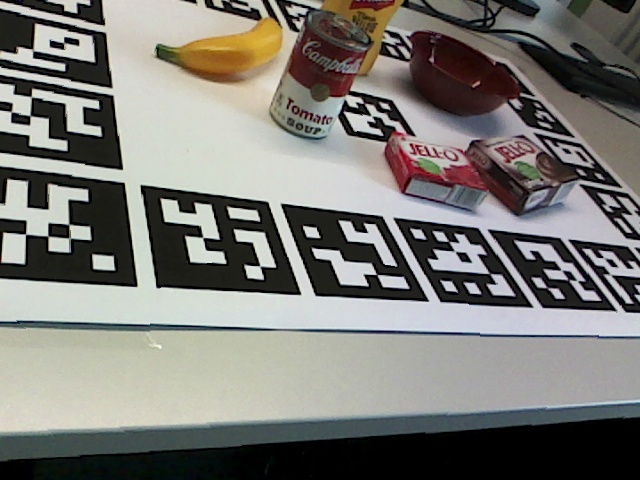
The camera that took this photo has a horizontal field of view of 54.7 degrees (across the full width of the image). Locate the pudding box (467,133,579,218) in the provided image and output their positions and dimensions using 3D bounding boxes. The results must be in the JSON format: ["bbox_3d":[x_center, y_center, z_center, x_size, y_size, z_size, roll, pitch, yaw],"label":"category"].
[{"bbox_3d":[0.231,-0.076,0.710,0.113,0.039,0.090,-17,60,-44],"label":"pudding box"}]

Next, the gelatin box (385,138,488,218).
[{"bbox_3d":[0.118,-0.064,0.631,0.089,0.030,0.073,10,43,-22],"label":"gelatin box"}]

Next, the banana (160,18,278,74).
[{"bbox_3d":[-0.090,-0.215,0.677,0.074,0.039,0.197,23,35,12],"label":"banana"}]

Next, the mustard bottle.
[{"bbox_3d":[0.060,-0.294,0.721,0.095,0.191,0.059,5,39,-28],"label":"mustard bottle"}]

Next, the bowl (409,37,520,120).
[{"bbox_3d":[0.184,-0.211,0.836,0.161,0.055,0.162,16,37,-13],"label":"bowl"}]

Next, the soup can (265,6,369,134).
[{"bbox_3d":[-0.005,-0.163,0.598,0.067,0.102,0.068,19,35,-14],"label":"soup can"}]
